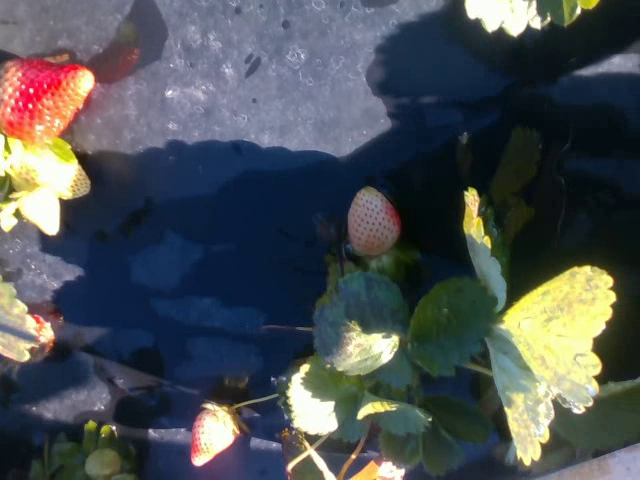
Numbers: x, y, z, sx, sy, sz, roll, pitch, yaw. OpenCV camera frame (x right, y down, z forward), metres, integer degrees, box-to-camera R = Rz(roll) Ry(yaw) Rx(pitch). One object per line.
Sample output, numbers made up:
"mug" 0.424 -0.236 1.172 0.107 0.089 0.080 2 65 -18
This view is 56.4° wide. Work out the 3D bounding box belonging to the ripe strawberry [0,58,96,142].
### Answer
"ripe strawberry" -0.130 -0.072 0.287 0.064 0.052 0.049 -18 -28 23
